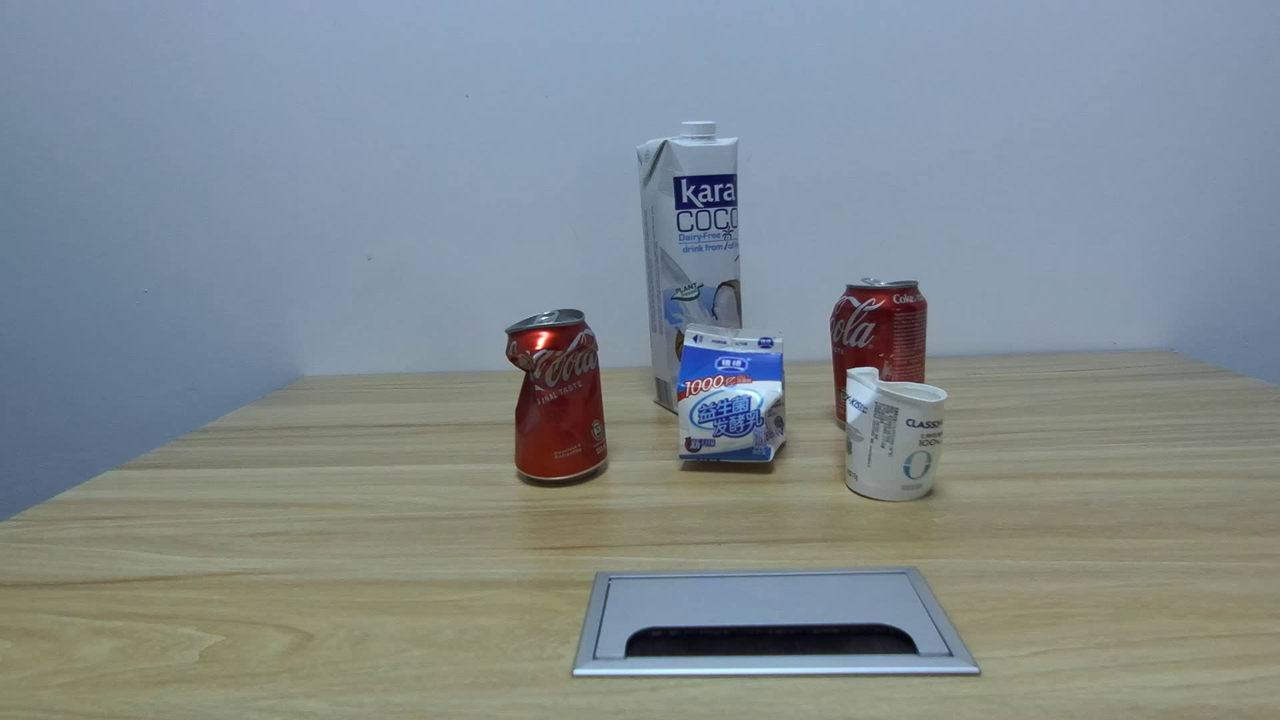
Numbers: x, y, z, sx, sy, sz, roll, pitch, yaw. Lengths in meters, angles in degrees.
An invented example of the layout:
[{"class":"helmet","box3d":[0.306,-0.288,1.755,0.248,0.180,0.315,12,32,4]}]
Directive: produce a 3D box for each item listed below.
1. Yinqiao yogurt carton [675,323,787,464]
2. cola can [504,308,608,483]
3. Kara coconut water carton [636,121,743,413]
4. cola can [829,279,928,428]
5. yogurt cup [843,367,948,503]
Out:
[{"class":"Yinqiao yogurt carton","box3d":[0.067,0.022,0.501,0.074,0.097,0.080,1,8,11]},{"class":"cola can","box3d":[-0.058,0.024,0.492,0.065,0.112,0.069,9,17,44]},{"class":"Kara coconut water carton","box3d":[0.047,-0.079,0.616,0.077,0.245,0.075,-9,12,-21]},{"class":"cola can","box3d":[0.186,-0.003,0.551,0.072,0.117,0.065,-2,14,1]},{"class":"yogurt cup","box3d":[0.158,0.045,0.442,0.054,0.071,0.075,-15,18,-40]}]
